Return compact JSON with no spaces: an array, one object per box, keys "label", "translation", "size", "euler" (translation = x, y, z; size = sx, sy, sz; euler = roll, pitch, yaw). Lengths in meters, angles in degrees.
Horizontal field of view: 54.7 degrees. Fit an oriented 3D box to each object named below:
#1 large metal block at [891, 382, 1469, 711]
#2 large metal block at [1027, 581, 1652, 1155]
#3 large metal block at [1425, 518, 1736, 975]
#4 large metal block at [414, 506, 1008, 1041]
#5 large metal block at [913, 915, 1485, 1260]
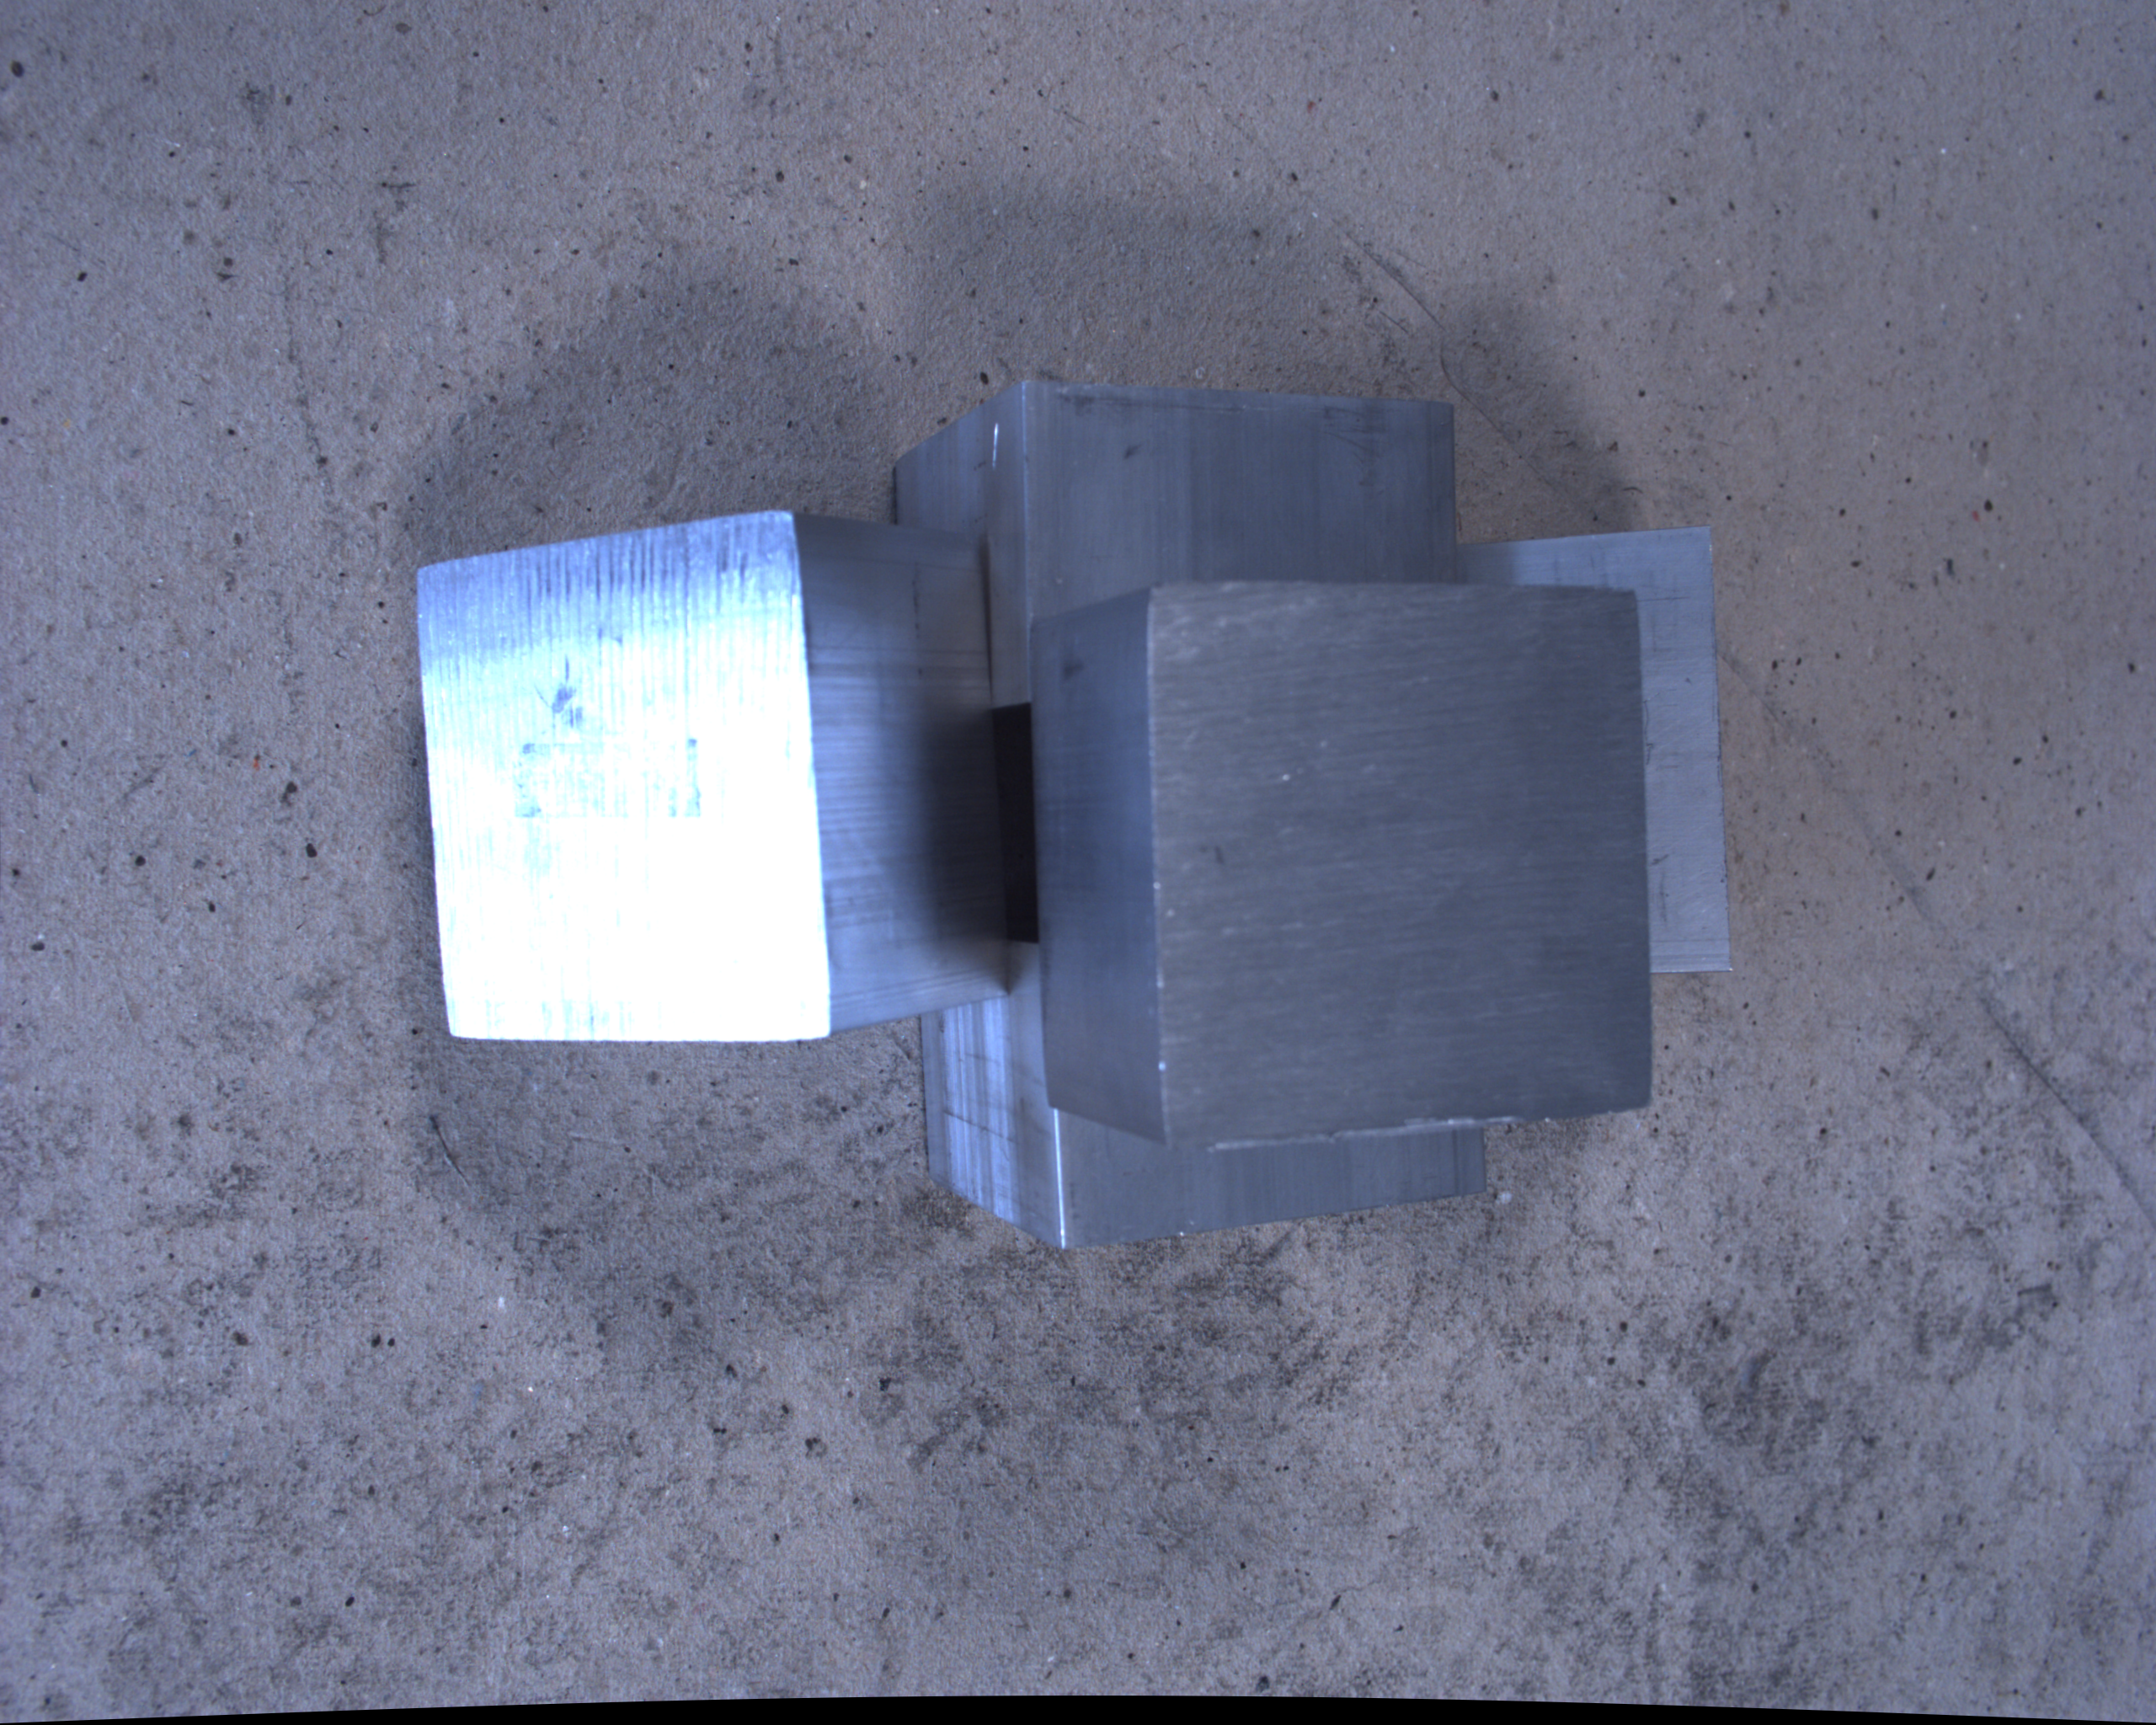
[{"label":"large metal block","translation":[0.016,-0.054,0.387],"size":[0.081,0.080,0.050],"euler":[-2,91,-21]},{"label":"large metal block","translation":[0.040,-0.001,0.326],"size":[0.081,0.050,0.080],"euler":[-2,91,-20]},{"label":"large metal block","translation":[0.099,-0.021,0.409],"size":[0.050,0.080,0.079],"euler":[-3,91,15]},{"label":"large metal block","translation":[-0.061,-0.013,0.351],"size":[0.050,0.080,0.080],"euler":[-5,92,-60]},{"label":"large metal block","translation":[0.019,0.037,0.390],"size":[0.081,0.080,0.050],"euler":[-4,92,-20]}]
